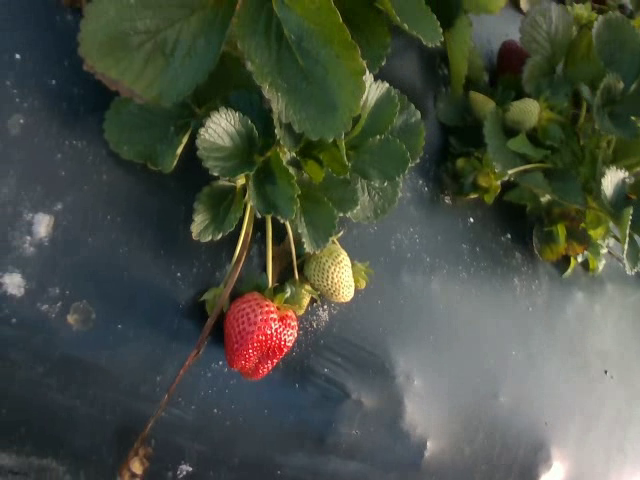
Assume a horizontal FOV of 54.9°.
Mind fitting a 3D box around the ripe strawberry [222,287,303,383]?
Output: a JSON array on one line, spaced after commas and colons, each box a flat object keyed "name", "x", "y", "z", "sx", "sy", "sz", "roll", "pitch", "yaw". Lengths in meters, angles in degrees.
[{"name": "ripe strawberry", "x": -0.033, "y": 0.057, "z": 0.345, "sx": 0.047, "sy": 0.050, "sz": 0.034, "roll": 27, "pitch": -6, "yaw": -24}]
